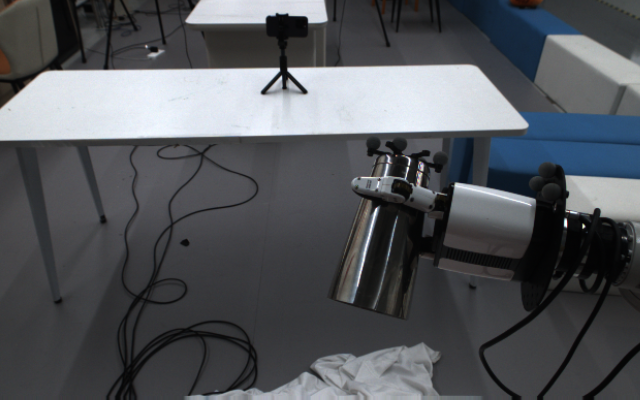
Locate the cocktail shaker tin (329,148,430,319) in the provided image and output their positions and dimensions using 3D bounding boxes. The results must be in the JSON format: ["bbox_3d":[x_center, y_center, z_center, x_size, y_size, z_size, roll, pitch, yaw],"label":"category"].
[{"bbox_3d":[0.077,0.036,0.544,0.093,0.093,0.170,13,76,15],"label":"cocktail shaker tin"}]
